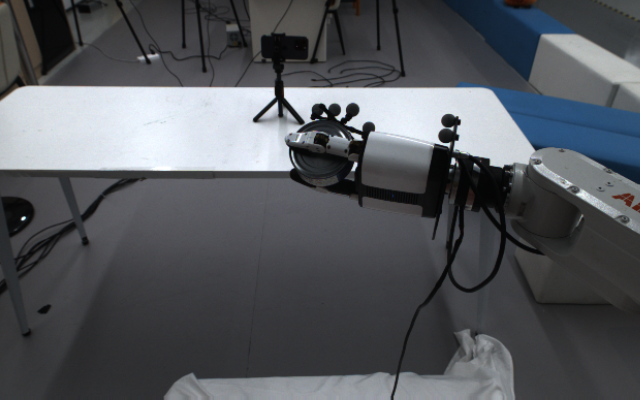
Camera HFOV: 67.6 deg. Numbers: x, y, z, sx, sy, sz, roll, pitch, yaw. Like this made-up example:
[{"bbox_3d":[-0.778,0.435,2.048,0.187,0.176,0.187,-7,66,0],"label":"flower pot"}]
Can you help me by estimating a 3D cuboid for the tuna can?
[{"bbox_3d":[0.004,-0.065,0.651,0.085,0.034,0.085,-4,67,10],"label":"tuna can"}]
